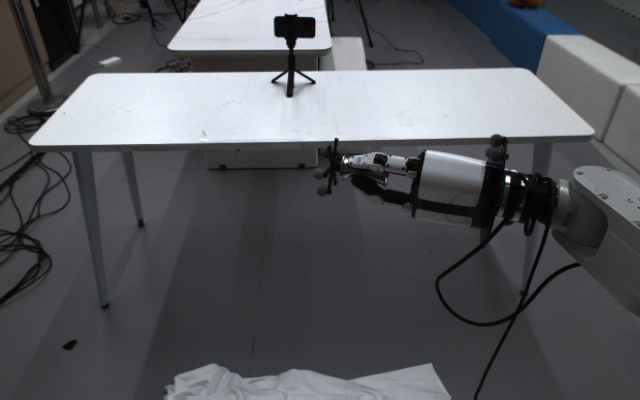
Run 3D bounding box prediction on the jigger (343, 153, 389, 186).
[{"bbox_3d":[0.074,-0.050,0.725,0.071,0.043,0.043,8,35,16],"label":"jigger"}]
